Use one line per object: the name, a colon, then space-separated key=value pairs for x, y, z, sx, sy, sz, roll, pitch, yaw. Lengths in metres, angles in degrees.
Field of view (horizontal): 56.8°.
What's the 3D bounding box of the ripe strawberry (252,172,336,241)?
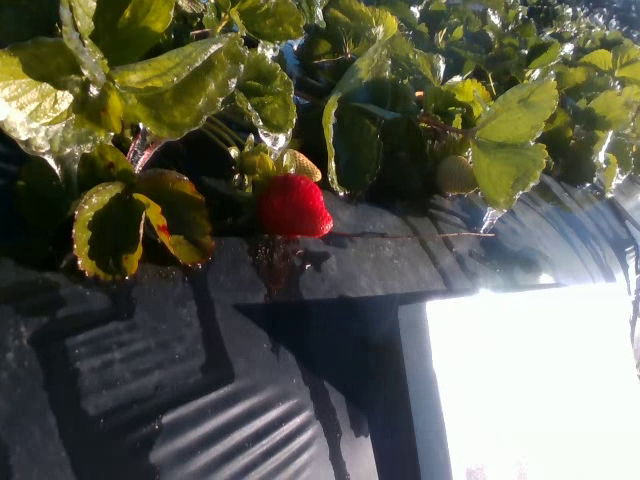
ripe strawberry: x=-0.006 y=-0.011 z=0.247 sx=0.039 sy=0.040 sz=0.039 roll=-13 pitch=24 yaw=-35
